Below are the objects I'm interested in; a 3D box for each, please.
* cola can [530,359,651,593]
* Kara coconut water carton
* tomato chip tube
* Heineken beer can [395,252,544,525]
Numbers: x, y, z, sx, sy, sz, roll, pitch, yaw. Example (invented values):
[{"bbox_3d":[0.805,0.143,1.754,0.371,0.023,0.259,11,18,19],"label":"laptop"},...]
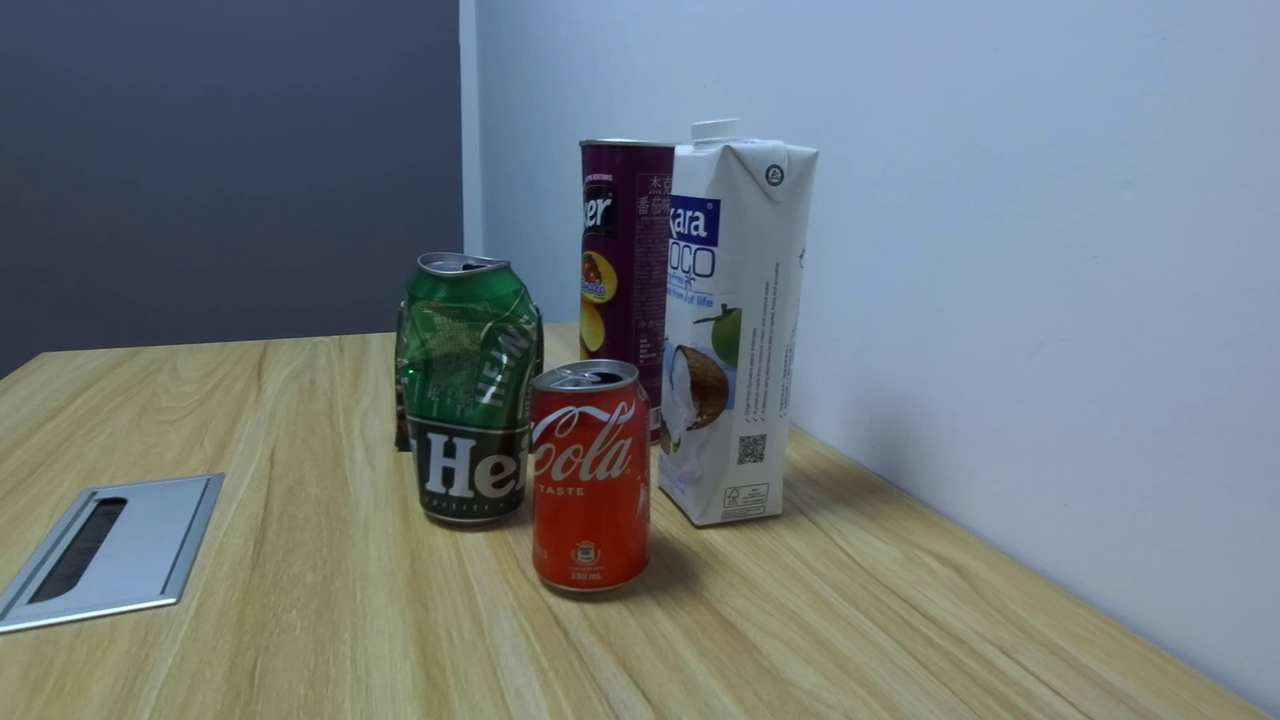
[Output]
[{"bbox_3d":[-0.026,0.062,0.379,0.065,0.117,0.072,9,17,21],"label":"cola can"},{"bbox_3d":[0.057,-0.022,0.447,0.075,0.245,0.076,-3,16,-21],"label":"Kara coconut water carton"},{"bbox_3d":[-0.010,-0.052,0.564,0.077,0.234,0.080,0,15,-5],"label":"tomato chip tube"},{"bbox_3d":[-0.107,0.019,0.442,0.066,0.164,0.077,-8,19,-32],"label":"Heineken beer can"}]
